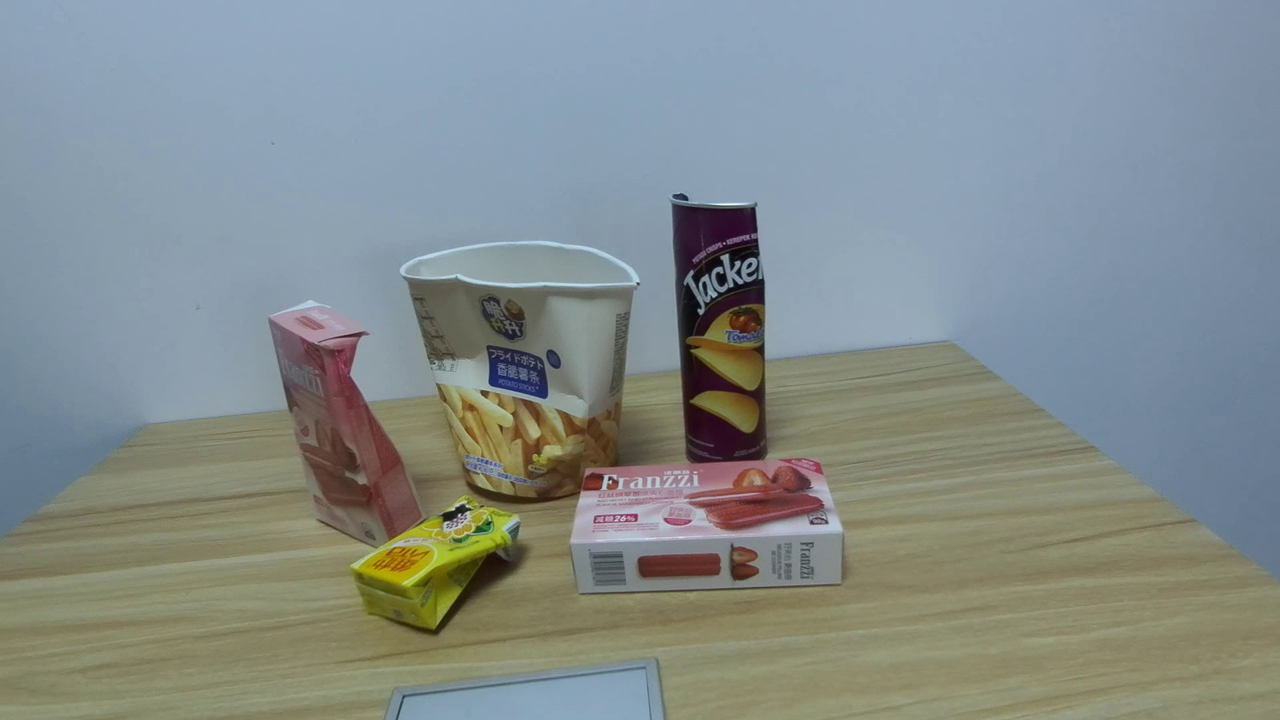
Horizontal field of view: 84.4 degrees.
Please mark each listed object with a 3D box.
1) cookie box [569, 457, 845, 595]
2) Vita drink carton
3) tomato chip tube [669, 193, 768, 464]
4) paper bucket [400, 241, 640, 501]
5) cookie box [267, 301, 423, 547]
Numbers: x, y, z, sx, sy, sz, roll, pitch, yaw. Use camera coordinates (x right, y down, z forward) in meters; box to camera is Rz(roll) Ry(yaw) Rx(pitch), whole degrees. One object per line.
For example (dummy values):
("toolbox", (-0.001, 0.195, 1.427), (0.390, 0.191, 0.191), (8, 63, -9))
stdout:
("cookie box", (0.047, 0.120, 0.520), (0.184, 0.048, 0.096), (-4, 23, 4))
("Vita drink carton", (-0.142, 0.144, 0.511), (0.086, 0.042, 0.108), (2, 18, 33))
("tomato chip tube", (0.071, -0.023, 0.616), (0.076, 0.235, 0.077), (-2, 21, 8))
("paper bucket", (-0.100, 0.005, 0.633), (0.218, 0.199, 0.147), (-4, 24, 3))
("cookie box", (-0.234, 0.053, 0.566), (0.118, 0.184, 0.056), (15, 30, 38))
